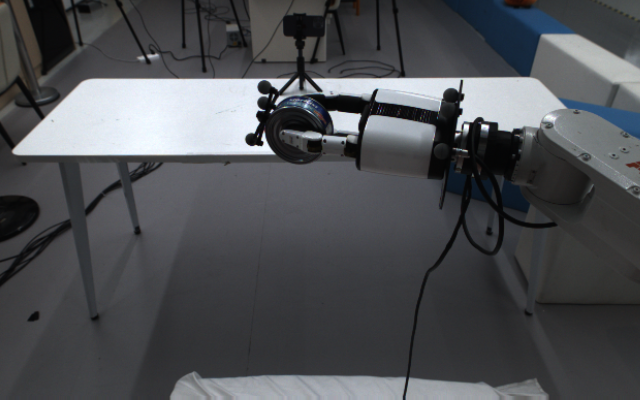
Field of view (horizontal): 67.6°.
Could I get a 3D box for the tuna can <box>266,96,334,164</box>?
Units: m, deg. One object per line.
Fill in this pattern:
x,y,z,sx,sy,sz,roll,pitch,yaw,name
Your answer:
-0.025,-0.087,0.629,0.085,0.085,0.034,9,35,10,tuna can
